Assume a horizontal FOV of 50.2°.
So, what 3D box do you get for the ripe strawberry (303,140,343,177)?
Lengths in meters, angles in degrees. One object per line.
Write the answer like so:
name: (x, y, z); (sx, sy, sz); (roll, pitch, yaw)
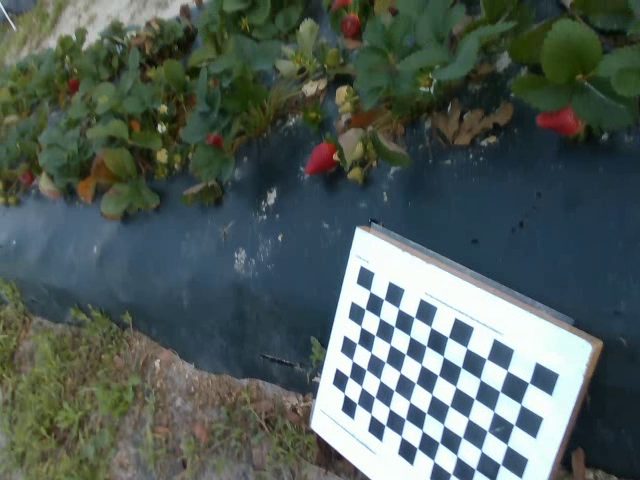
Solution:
ripe strawberry: (-0.001, -0.105, 0.879); (0.050, 0.059, 0.034); (14, -34, 47)
